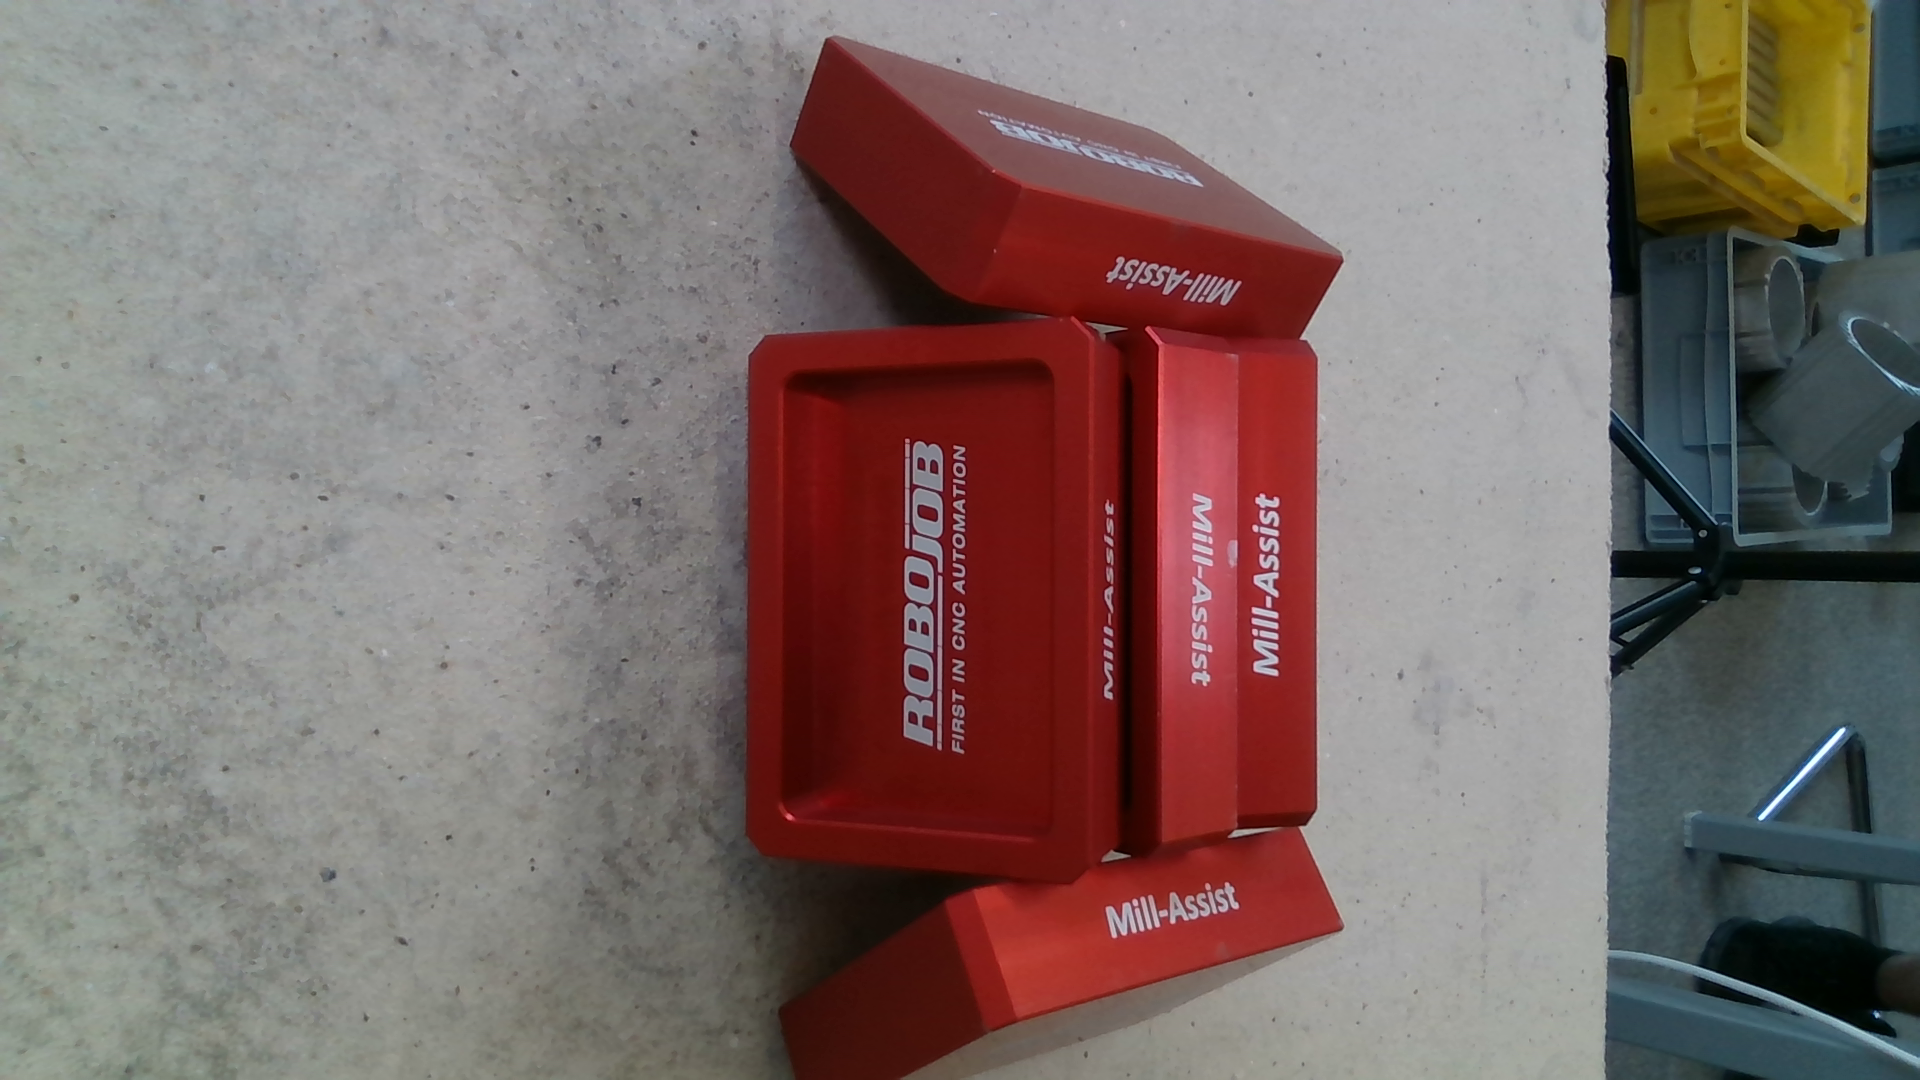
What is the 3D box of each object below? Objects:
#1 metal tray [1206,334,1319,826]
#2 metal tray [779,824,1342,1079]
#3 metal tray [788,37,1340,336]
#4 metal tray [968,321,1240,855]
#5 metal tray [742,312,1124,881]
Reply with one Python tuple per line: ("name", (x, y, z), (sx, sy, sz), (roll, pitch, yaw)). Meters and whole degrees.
("metal tray", (0.067, 0.011, 0.402), (0.030, 0.090, 0.130), (0, 90, -18))
("metal tray", (0.029, 0.115, 0.372), (0.130, 0.090, 0.030), (1, 58, -40))
("metal tray", (0.030, -0.093, 0.375), (0.130, 0.090, 0.030), (0, 126, -40))
("metal tray", (0.031, 0.012, 0.374), (0.030, 0.090, 0.130), (0, 90, -40))
("metal tray", (-0.007, 0.013, 0.342), (0.030, 0.090, 0.130), (1, 89, -69))
